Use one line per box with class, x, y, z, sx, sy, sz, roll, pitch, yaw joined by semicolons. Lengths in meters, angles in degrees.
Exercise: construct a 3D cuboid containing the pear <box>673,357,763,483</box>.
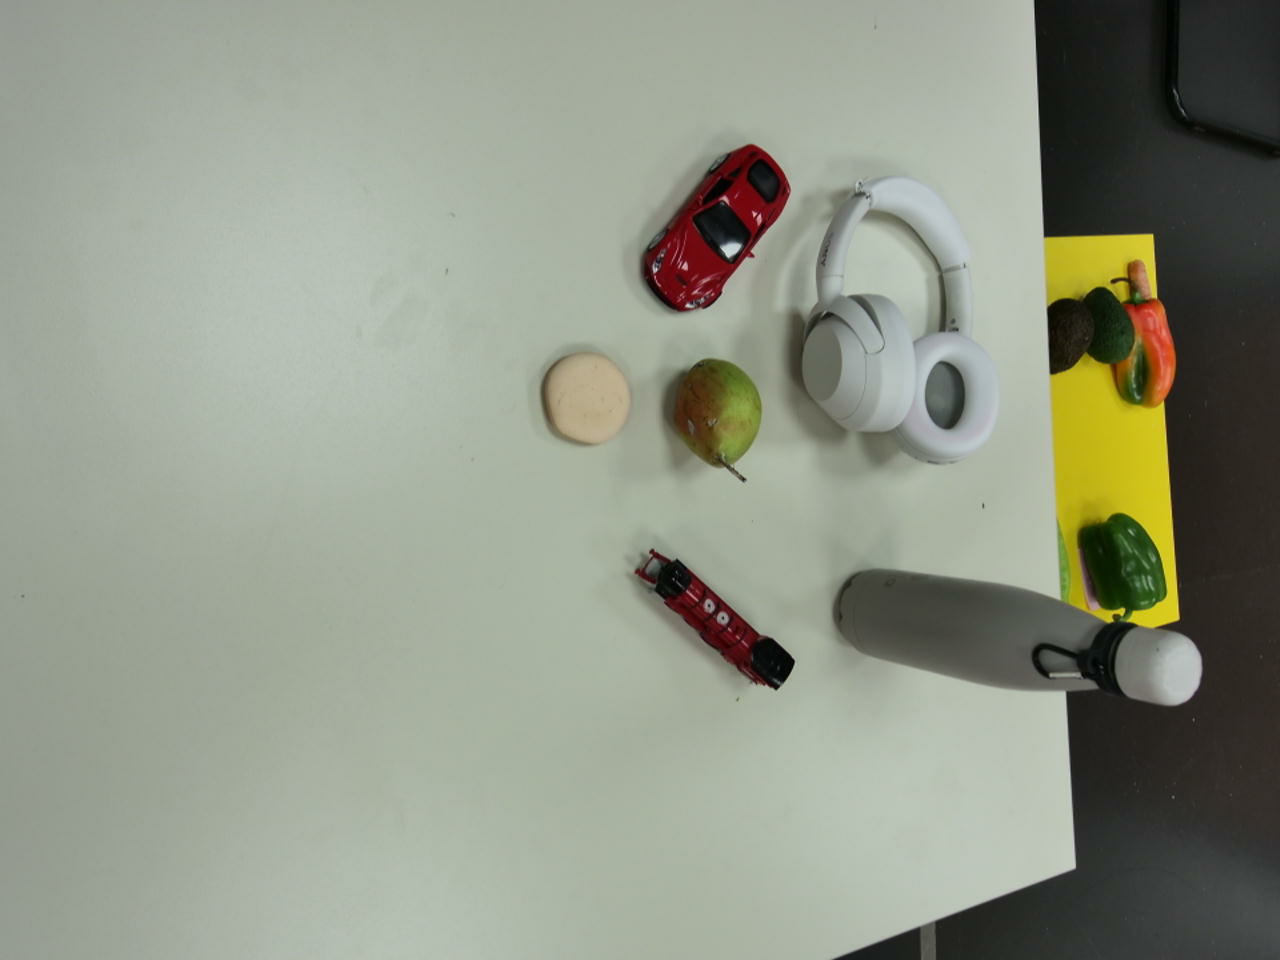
pear;0.054;-0.047;0.697;0.070;0.069;0.068;-47;111;-20
